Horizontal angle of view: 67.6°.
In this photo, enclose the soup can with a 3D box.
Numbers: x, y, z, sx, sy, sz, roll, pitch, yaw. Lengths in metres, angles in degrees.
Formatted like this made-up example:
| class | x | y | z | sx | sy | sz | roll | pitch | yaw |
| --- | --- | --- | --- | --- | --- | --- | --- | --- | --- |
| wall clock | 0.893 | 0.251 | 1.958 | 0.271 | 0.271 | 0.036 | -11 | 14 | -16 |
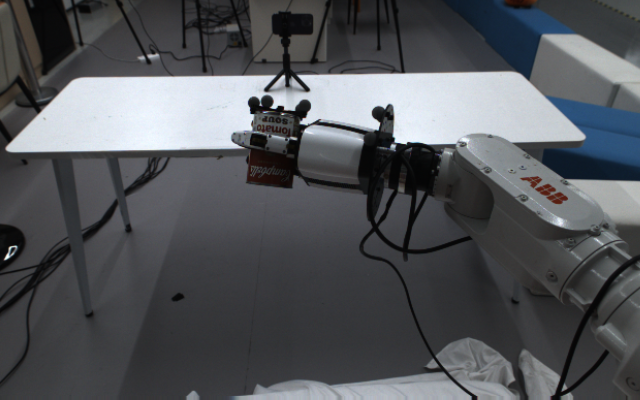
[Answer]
| class | x | y | z | sx | sy | sz | roll | pitch | yaw |
| --- | --- | --- | --- | --- | --- | --- | --- | --- | --- |
| soup can | -0.066 | -0.070 | 0.685 | 0.067 | 0.101 | 0.067 | 7 | 3 | 0 |
